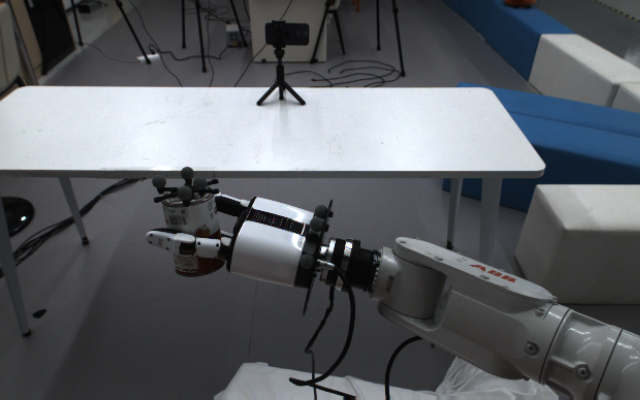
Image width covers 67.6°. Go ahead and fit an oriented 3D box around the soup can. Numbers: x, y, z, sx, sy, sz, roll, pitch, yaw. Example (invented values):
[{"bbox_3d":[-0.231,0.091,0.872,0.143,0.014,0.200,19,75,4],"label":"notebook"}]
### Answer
[{"bbox_3d":[-0.163,0.041,0.632,0.067,0.101,0.067,-4,21,1],"label":"soup can"}]
